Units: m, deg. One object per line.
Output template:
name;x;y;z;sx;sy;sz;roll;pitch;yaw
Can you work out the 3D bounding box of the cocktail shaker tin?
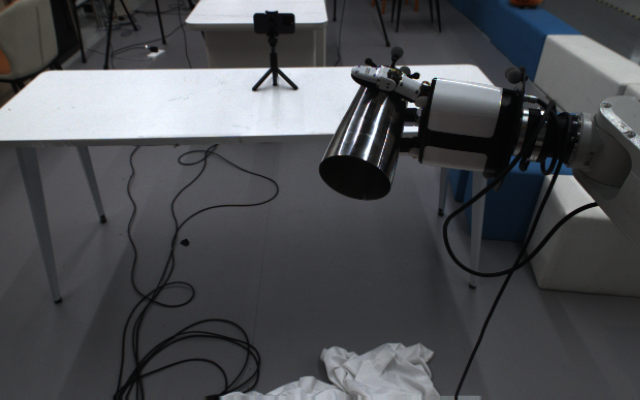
cocktail shaker tin;0.069;-0.098;0.636;0.093;0.093;0.170;13;59;16
